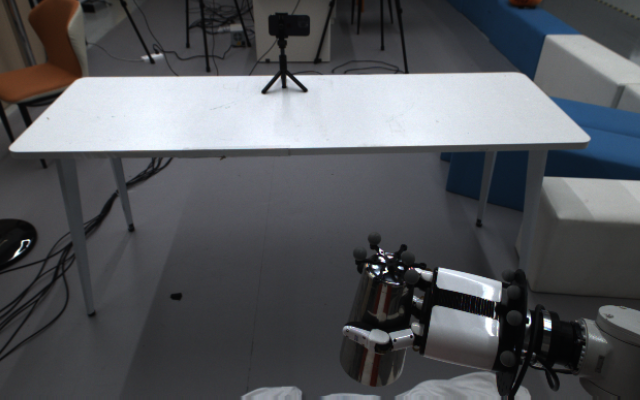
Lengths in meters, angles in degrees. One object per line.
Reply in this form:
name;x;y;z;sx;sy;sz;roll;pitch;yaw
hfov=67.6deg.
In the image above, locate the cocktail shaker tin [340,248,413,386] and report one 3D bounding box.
cocktail shaker tin;0.081;0.156;0.649;0.093;0.170;0.093;4;32;-2
